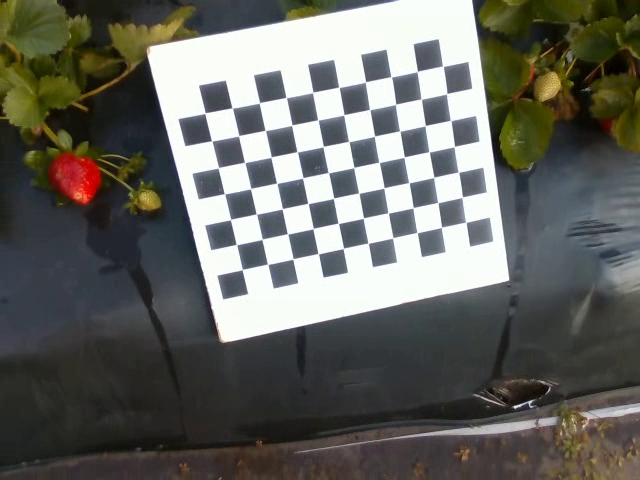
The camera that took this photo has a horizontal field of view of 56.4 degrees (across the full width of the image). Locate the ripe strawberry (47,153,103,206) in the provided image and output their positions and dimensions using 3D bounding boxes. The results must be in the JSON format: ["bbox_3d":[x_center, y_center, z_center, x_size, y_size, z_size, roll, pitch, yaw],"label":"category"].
[{"bbox_3d":[-0.214,-0.049,0.526,0.052,0.043,0.057,49,6,-42],"label":"ripe strawberry"}]
